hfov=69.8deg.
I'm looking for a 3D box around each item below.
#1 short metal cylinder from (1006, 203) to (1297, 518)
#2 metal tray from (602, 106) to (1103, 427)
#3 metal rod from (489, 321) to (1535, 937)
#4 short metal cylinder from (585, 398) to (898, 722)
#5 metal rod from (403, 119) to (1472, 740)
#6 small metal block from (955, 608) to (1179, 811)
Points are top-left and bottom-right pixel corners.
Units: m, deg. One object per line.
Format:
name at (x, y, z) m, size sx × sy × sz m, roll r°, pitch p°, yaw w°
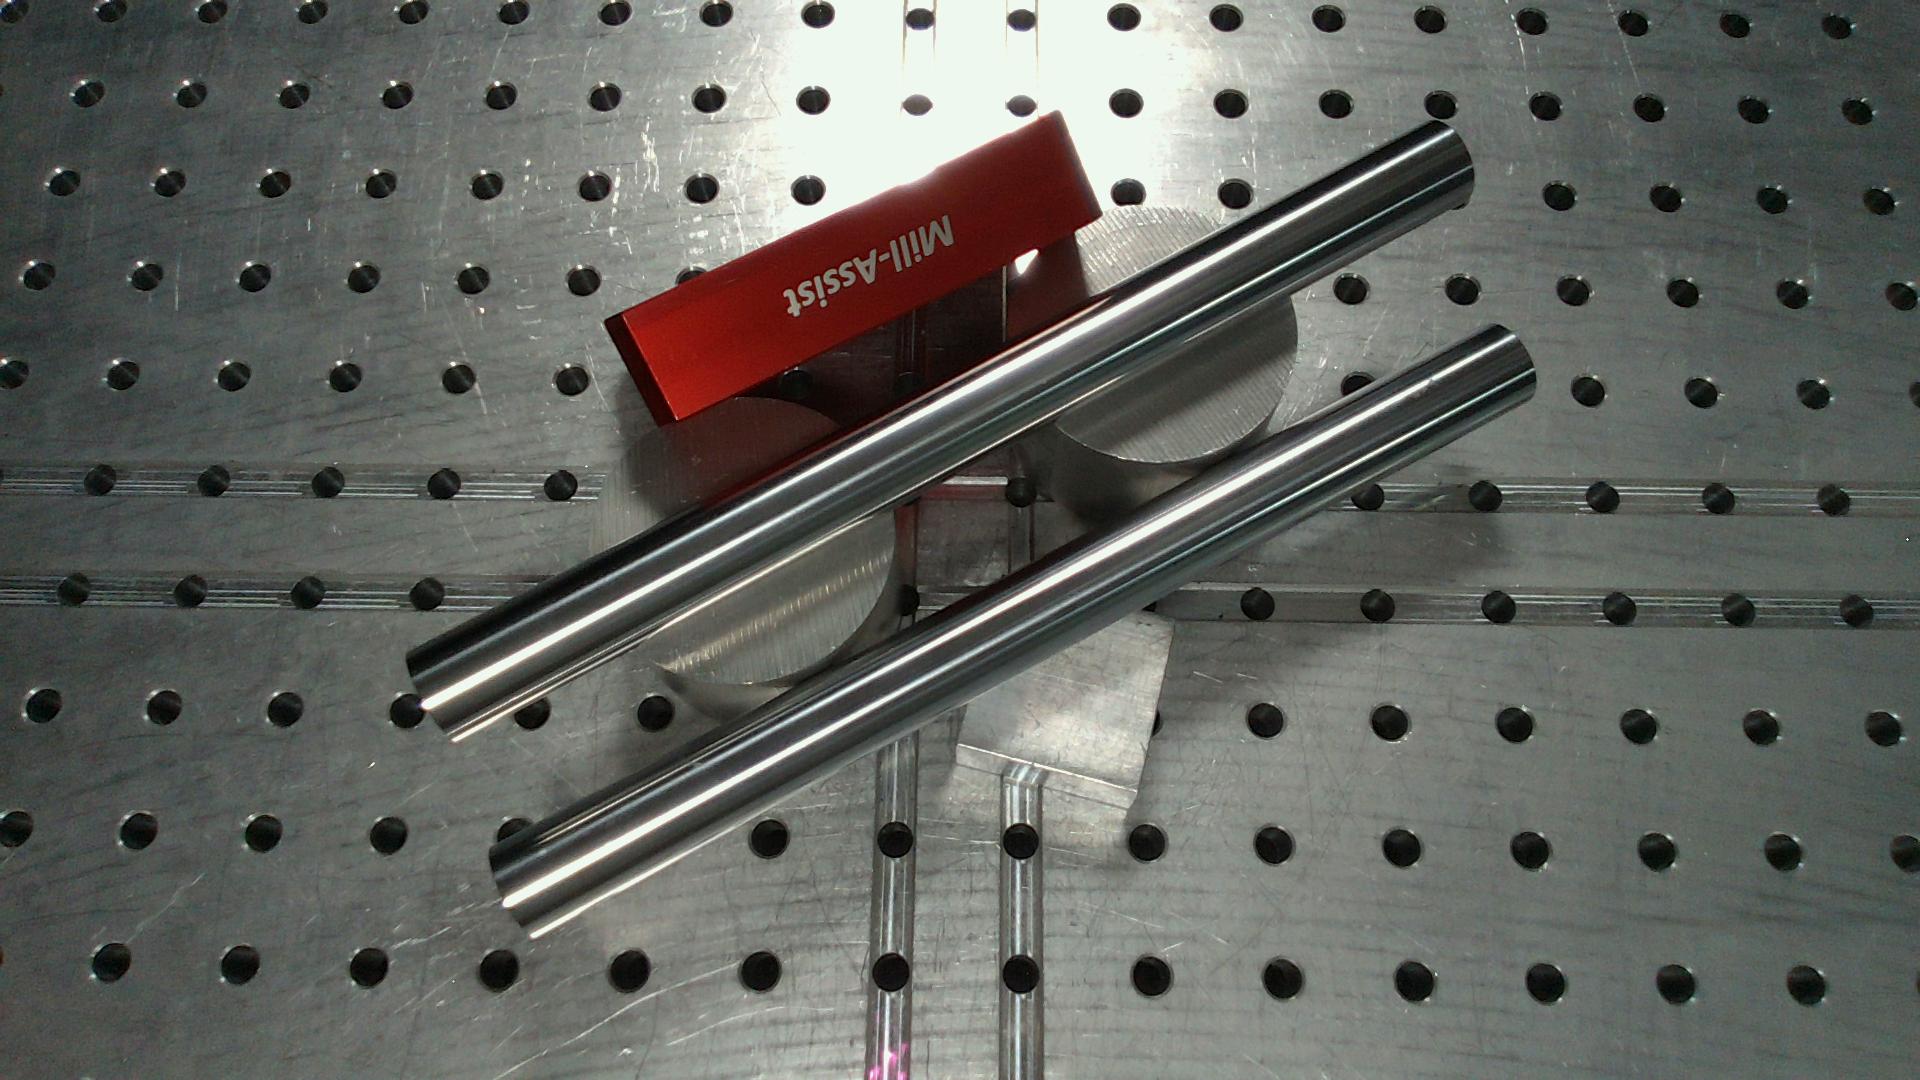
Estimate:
short metal cylinder at (0.053, -0.050, 0.403) m, size 0.080 × 0.050 × 0.080 m, roll 0°, pitch 70°, yaw 0°
metal tray at (-0.035, -0.076, 0.389) m, size 0.130 × 0.090 × 0.030 m, roll -27°, pitch 104°, yaw -10°
metal rod at (0.022, 0.018, 0.363) m, size 0.300 × 0.025 × 0.025 m, roll -27°, pitch 72°, yaw -10°
short metal cylinder at (-0.057, 0.008, 0.381) m, size 0.080 × 0.050 × 0.080 m, roll 0°, pitch 70°, yaw 0°
metal rod at (0.003, -0.034, 0.355) m, size 0.300 × 0.025 × 0.025 m, roll -29°, pitch 72°, yaw -10°
small metal block at (0.029, 0.042, 0.381) m, size 0.050 × 0.025 × 0.050 m, roll 14°, pitch 71°, yaw 5°
